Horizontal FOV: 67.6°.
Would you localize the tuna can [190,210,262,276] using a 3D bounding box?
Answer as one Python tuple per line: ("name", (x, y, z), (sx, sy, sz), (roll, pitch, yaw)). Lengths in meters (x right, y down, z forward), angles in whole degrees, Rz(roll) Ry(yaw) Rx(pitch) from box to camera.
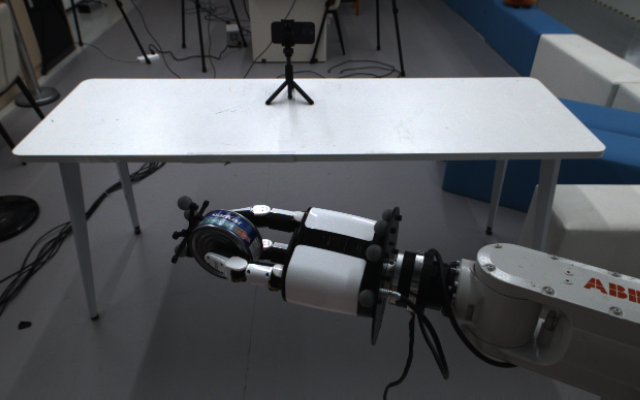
("tuna can", (-0.111, 0.061, 0.587), (0.085, 0.085, 0.034), (11, 35, 13))
